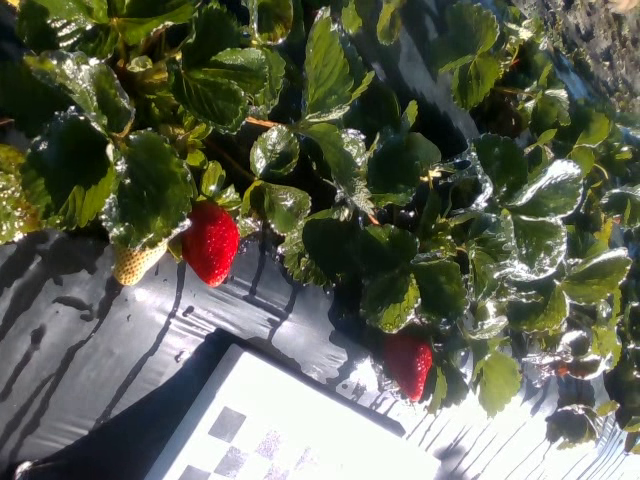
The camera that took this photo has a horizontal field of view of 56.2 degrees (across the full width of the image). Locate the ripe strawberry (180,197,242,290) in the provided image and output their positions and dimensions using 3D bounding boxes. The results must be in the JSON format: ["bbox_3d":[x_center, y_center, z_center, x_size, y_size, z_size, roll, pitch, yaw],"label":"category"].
[{"bbox_3d":[-0.074,0.009,0.389,0.042,0.061,0.046,21,-40,-37],"label":"ripe strawberry"}]

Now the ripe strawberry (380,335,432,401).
[{"bbox_3d":[0.081,0.115,0.519,0.044,0.061,0.048,-21,-39,40],"label":"ripe strawberry"}]
